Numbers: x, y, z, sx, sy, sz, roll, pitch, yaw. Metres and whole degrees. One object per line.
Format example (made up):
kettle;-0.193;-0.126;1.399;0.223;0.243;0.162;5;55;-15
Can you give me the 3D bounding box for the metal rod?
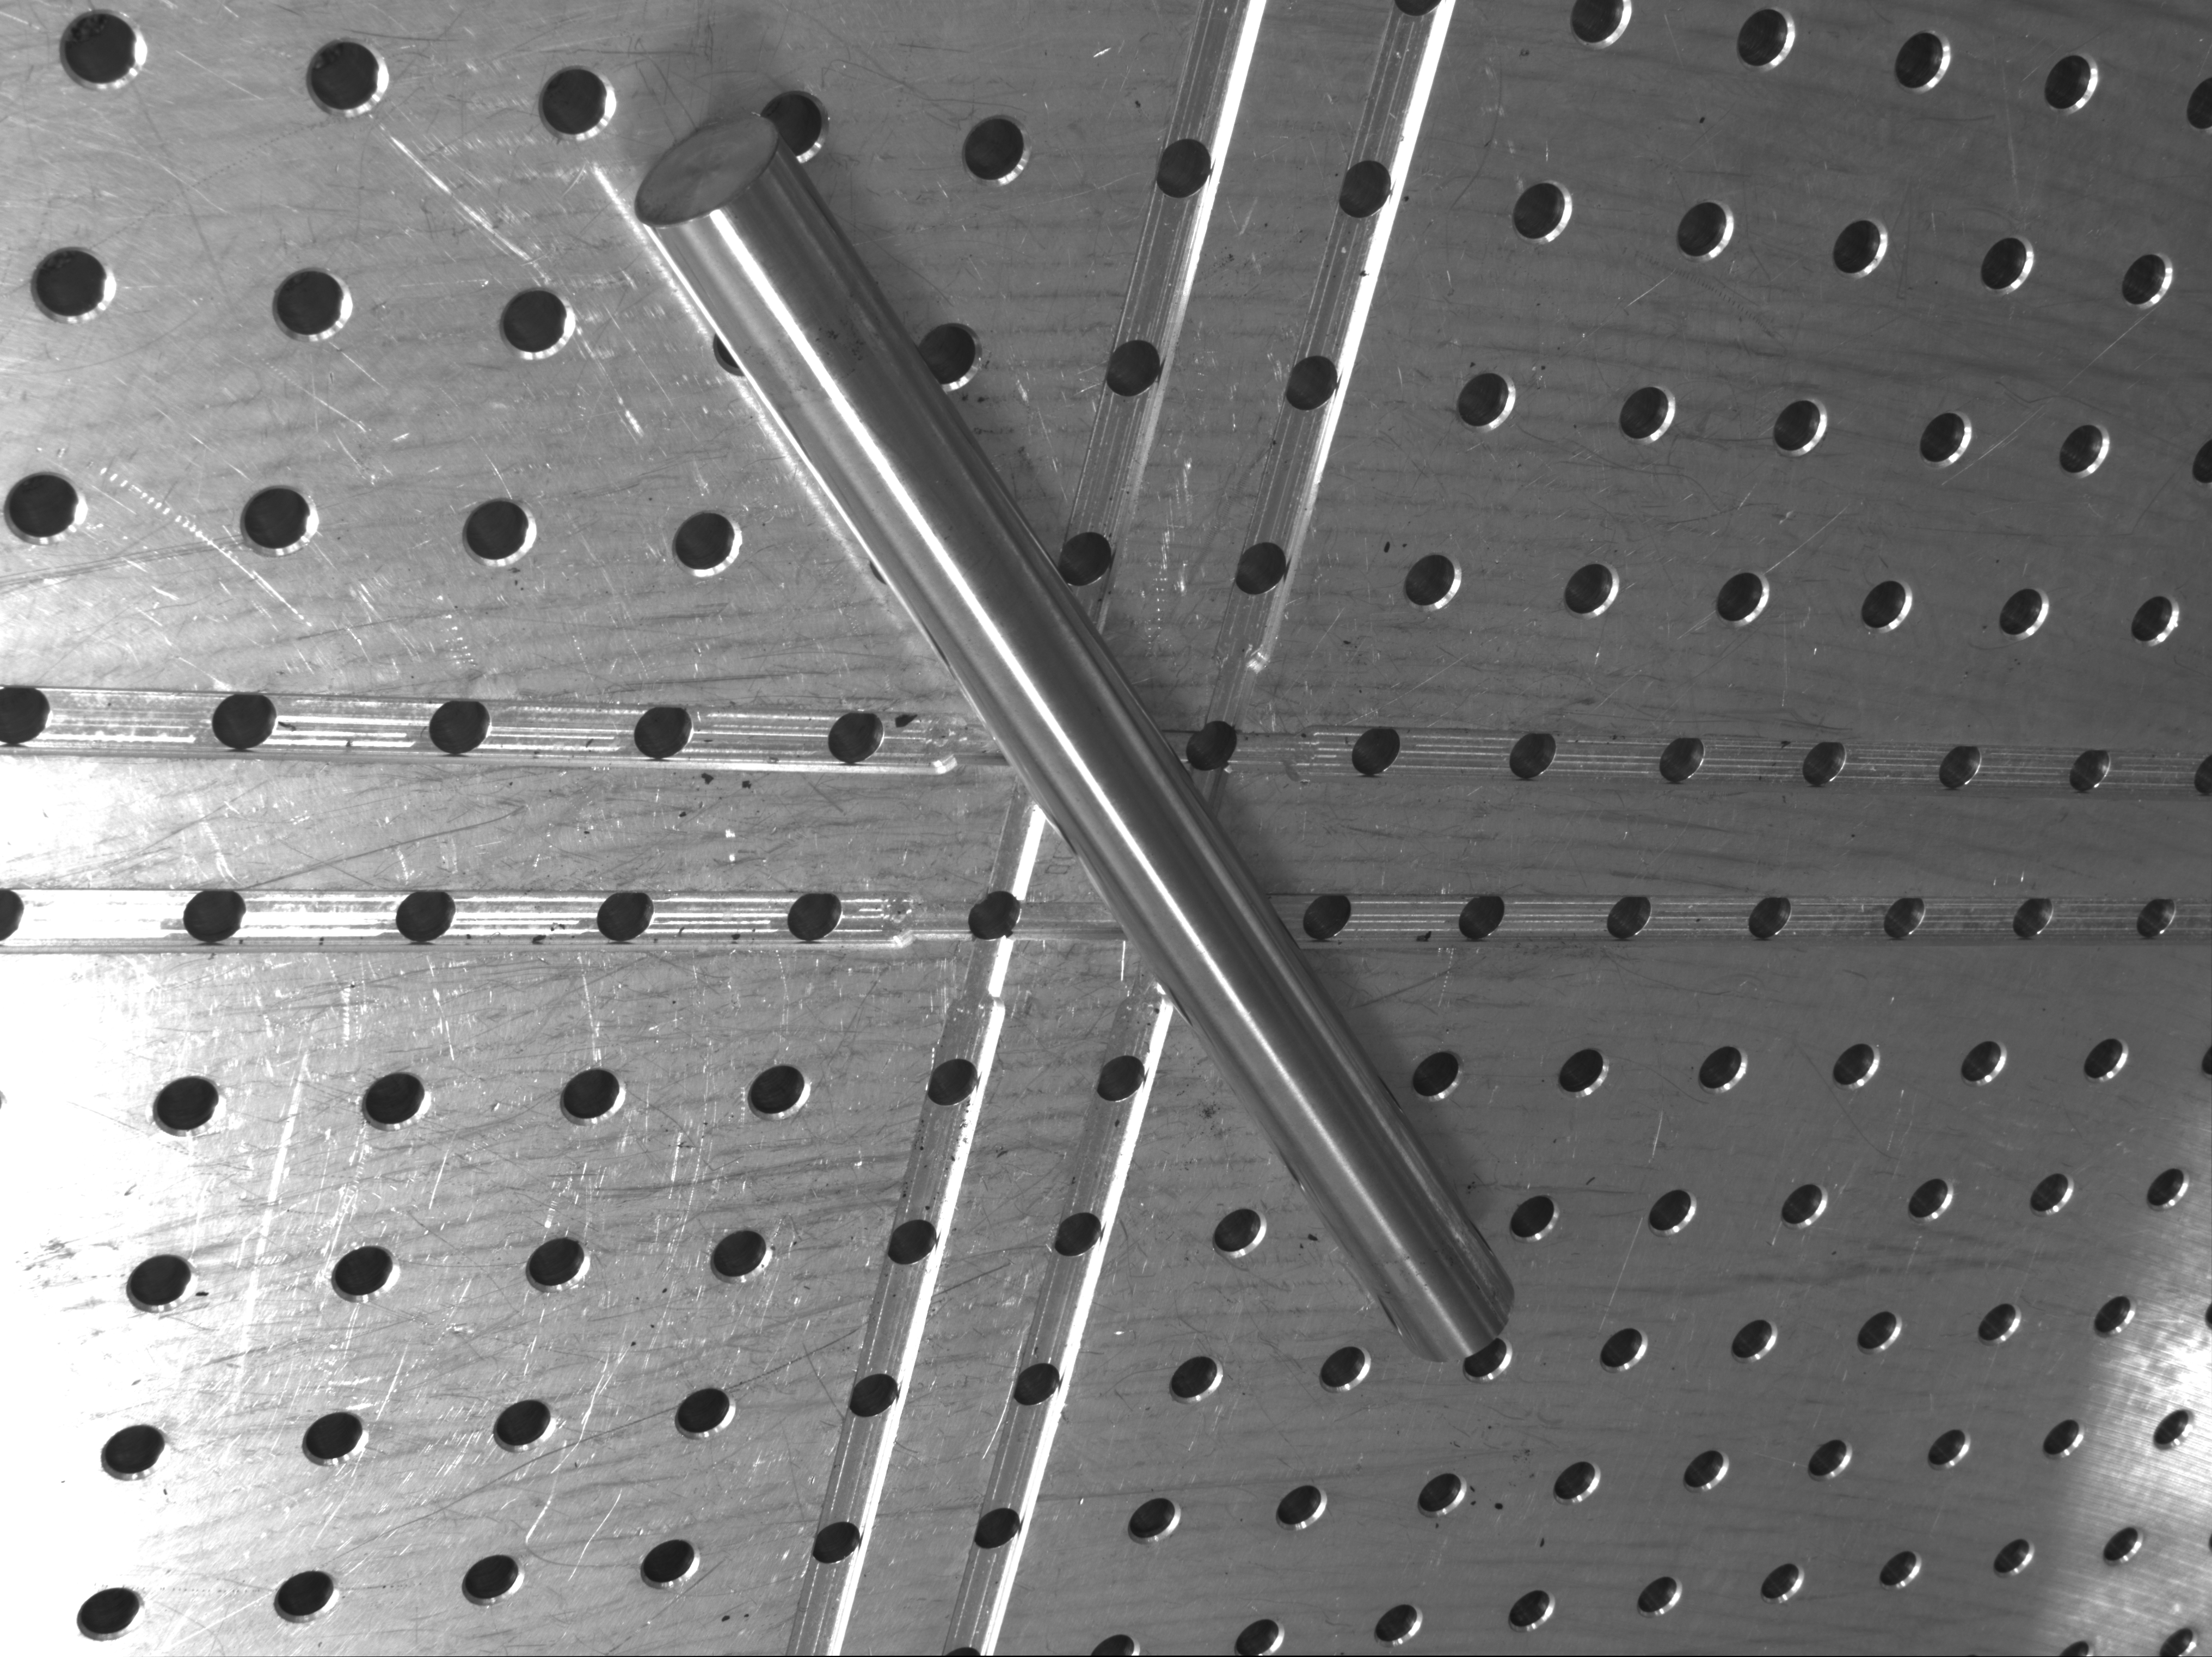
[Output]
metal rod;0.004;-0.001;0.643;0.025;0.025;0.301;-37;129;-4
